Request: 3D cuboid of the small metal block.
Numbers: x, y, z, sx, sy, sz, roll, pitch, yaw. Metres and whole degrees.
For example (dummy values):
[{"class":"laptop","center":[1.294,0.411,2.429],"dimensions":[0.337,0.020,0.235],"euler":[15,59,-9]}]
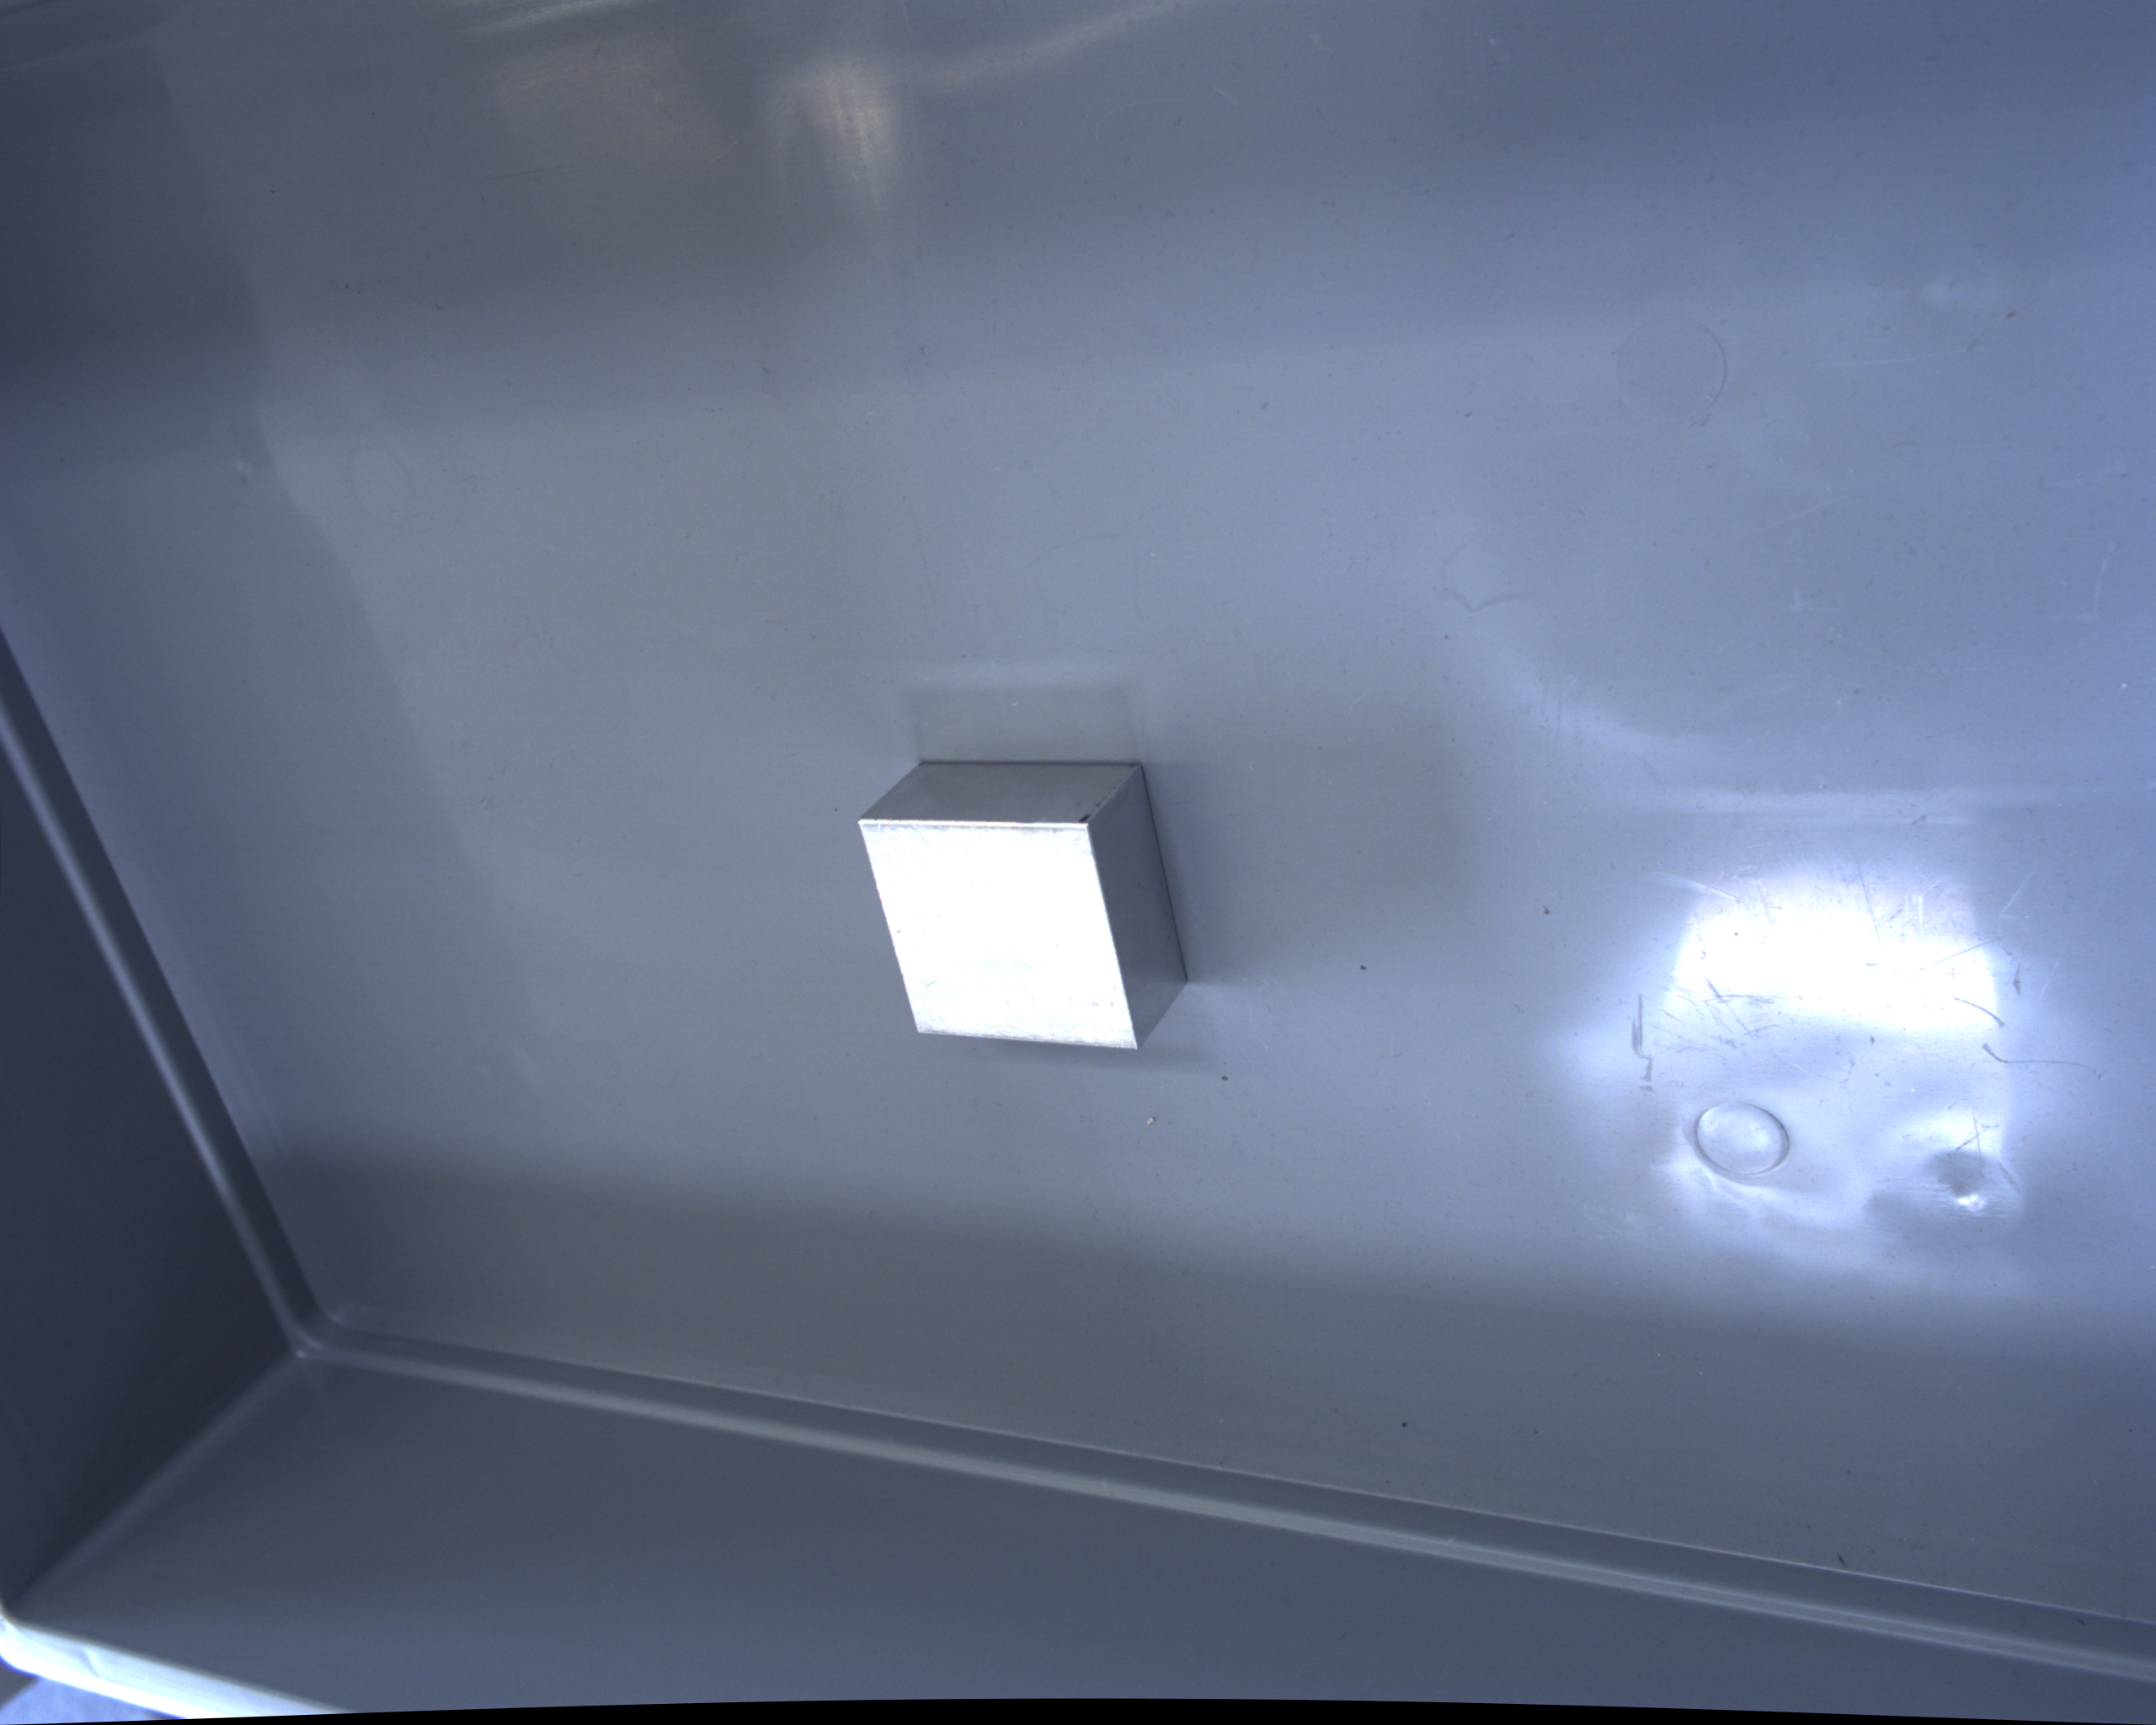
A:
[{"class":"small metal block","center":[-0.010,0.008,0.415],"dimensions":[0.050,0.025,0.050],"euler":[2,120,28]}]
